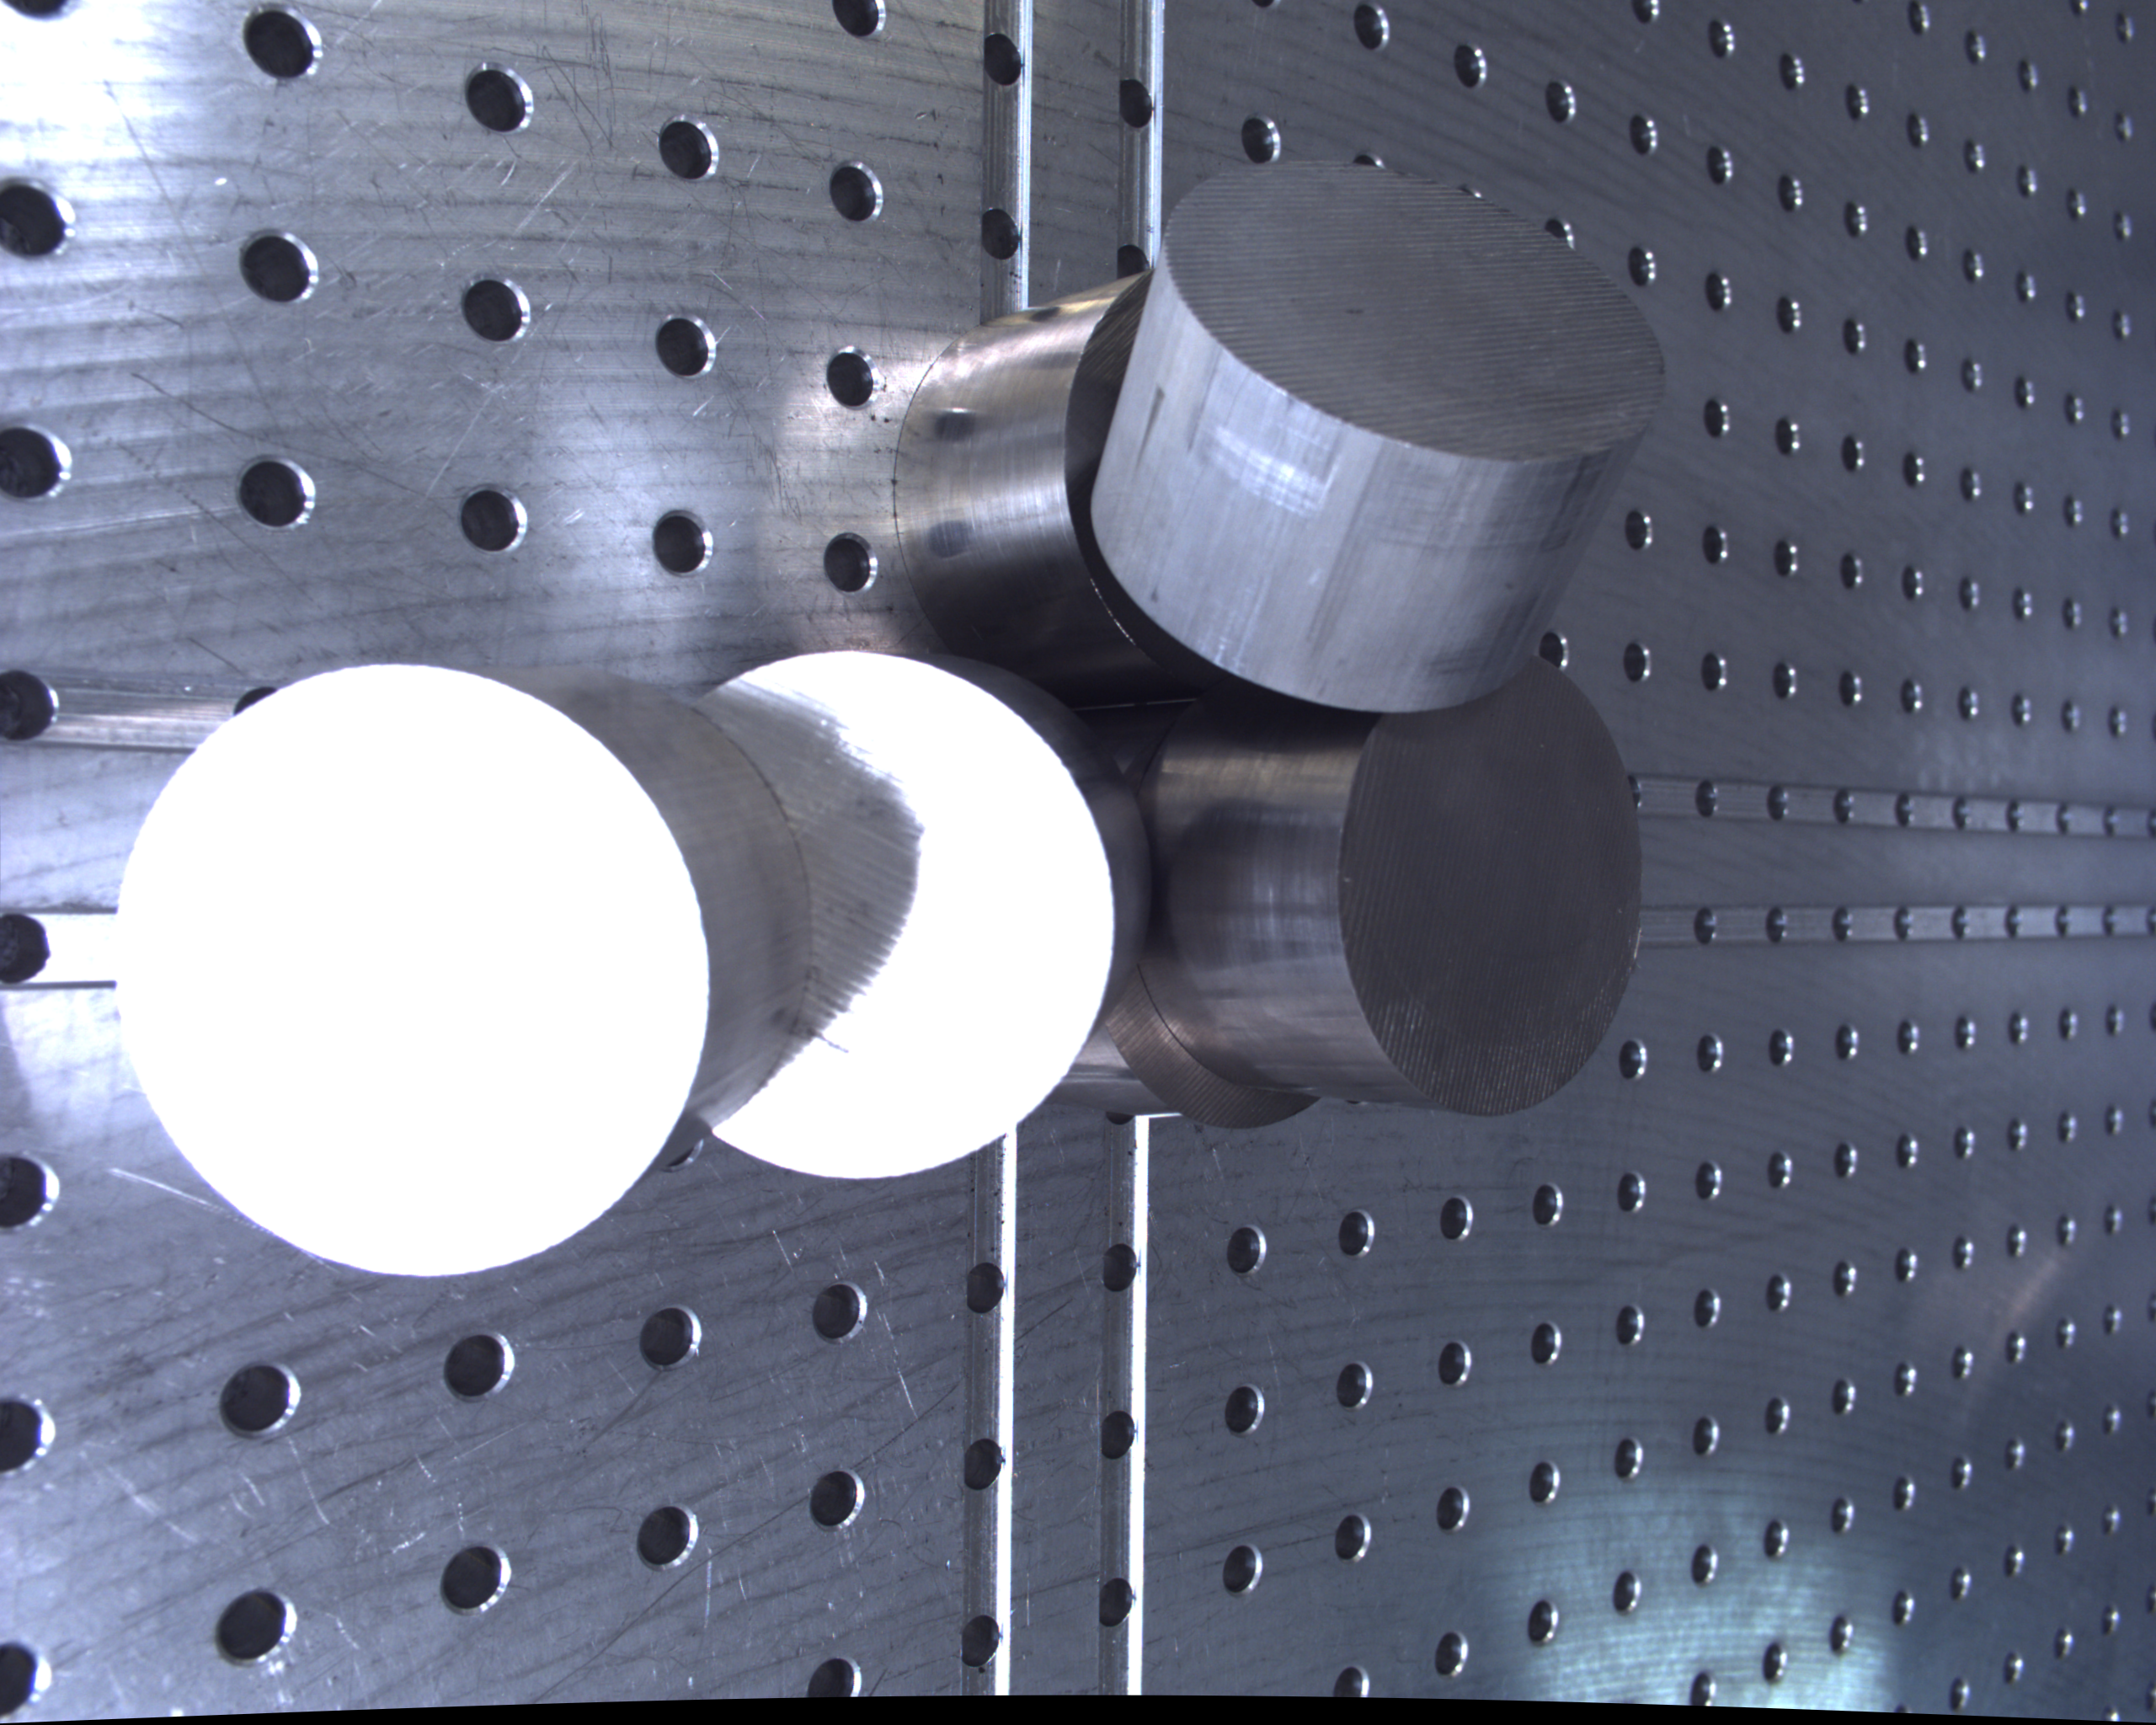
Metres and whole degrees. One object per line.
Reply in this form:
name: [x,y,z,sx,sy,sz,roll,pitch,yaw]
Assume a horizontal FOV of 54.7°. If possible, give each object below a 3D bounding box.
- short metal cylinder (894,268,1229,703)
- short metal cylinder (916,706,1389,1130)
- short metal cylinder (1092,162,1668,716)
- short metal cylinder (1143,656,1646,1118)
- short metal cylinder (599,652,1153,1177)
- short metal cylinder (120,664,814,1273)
short metal cylinder: [0.012,-0.071,0.402,0.081,0.050,0.079,0,90,-40]
short metal cylinder: [0.016,0.009,0.405,0.081,0.050,0.079,0,90,-40]
short metal cylinder: [0.047,-0.070,0.338,0.081,0.080,0.050,-30,152,-36]
short metal cylinder: [0.056,0.003,0.372,0.081,0.050,0.079,0,90,-40]
short metal cylinder: [-0.030,0.006,0.338,0.050,0.080,0.079,-33,118,-80]
short metal cylinder: [-0.083,0.012,0.295,0.050,0.080,0.079,-37,122,-81]
